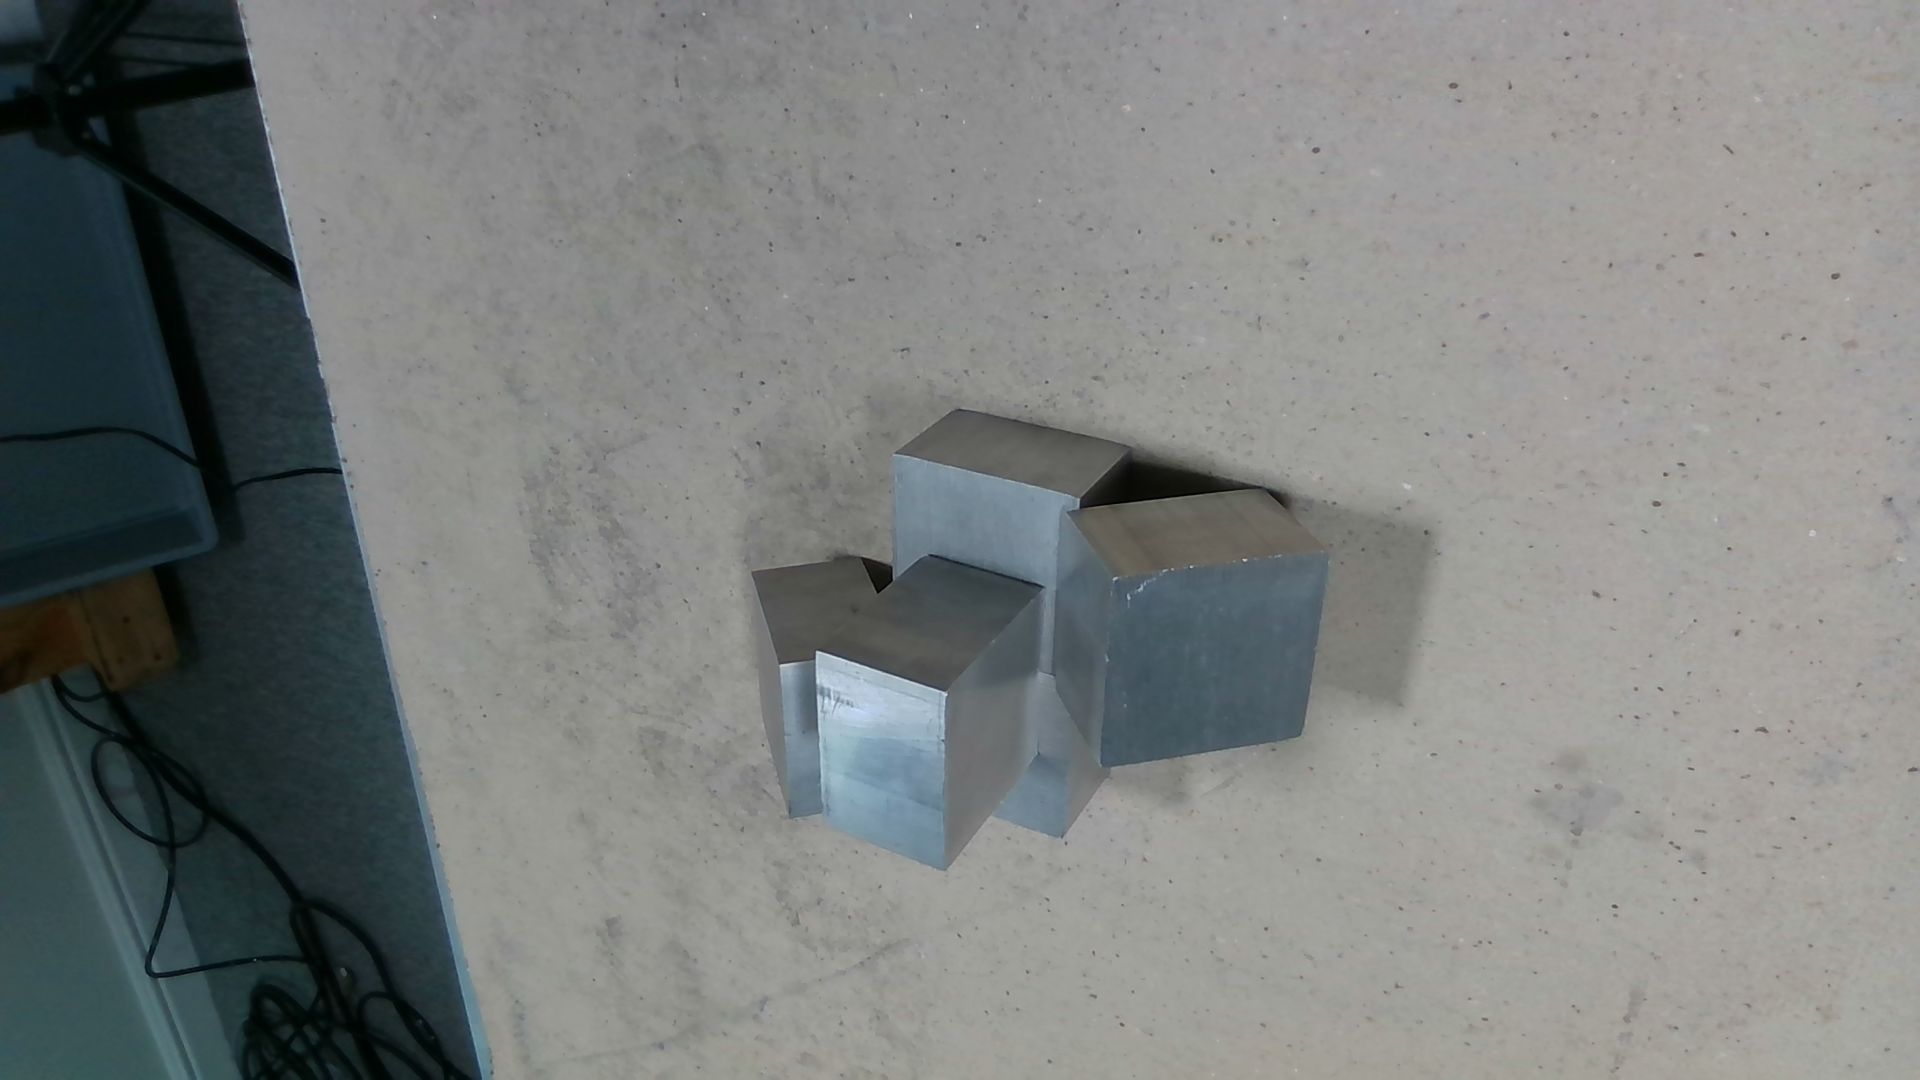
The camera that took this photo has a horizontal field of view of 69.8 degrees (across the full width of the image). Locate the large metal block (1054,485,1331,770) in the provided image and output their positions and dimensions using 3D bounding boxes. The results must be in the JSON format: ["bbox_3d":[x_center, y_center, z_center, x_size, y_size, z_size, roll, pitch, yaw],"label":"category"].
[{"bbox_3d":[0.082,0.031,0.504,0.080,0.050,0.080,-7,119,-14],"label":"large metal block"}]

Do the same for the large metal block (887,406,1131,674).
[{"bbox_3d":[0.019,0.000,0.550,0.080,0.050,0.080,15,122,24],"label":"large metal block"}]

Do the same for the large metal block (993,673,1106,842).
[{"bbox_3d":[0.019,0.071,0.589,0.080,0.050,0.080,15,122,24],"label":"large metal block"}]

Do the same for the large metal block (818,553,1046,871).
[{"bbox_3d":[-0.009,0.062,0.520,0.050,0.080,0.080,15,122,24],"label":"large metal block"}]

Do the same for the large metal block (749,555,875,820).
[{"bbox_3d":[-0.060,0.063,0.608,0.050,0.080,0.080,-8,120,-14],"label":"large metal block"}]
